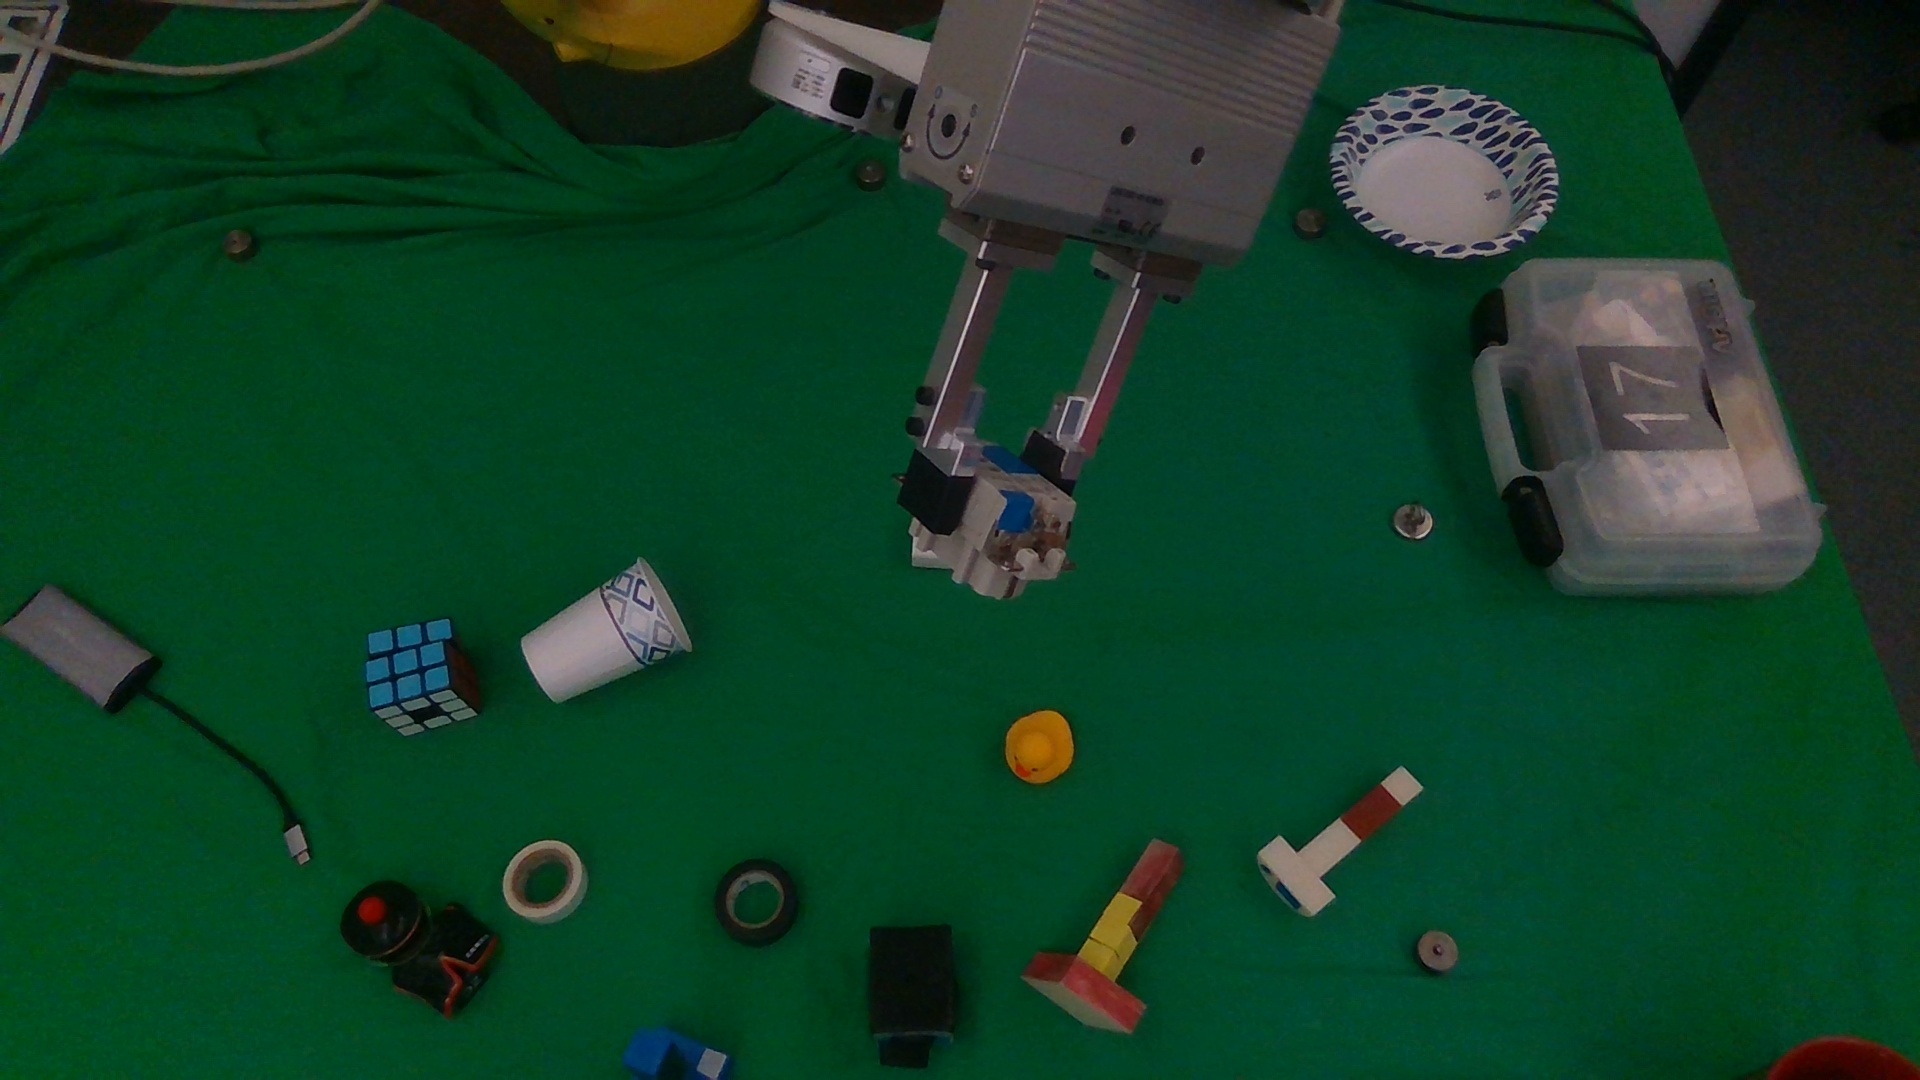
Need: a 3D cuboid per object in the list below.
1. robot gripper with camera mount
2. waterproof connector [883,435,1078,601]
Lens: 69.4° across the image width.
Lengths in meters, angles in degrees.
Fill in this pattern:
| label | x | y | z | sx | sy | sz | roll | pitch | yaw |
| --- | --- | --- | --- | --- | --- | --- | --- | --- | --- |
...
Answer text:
| label | x | y | z | sx | sy | sz | roll | pitch | yaw |
| --- | --- | --- | --- | --- | --- | --- | --- | --- | --- |
| robot gripper with camera mount | -0.021 | -0.114 | 0.465 | 0.118 | 0.159 | 0.194 | -1 | 31 | -43 |
| waterproof connector | 0.006 | -0.008 | 0.444 | 0.034 | 0.037 | 0.065 | -5 | 33 | -44 |
